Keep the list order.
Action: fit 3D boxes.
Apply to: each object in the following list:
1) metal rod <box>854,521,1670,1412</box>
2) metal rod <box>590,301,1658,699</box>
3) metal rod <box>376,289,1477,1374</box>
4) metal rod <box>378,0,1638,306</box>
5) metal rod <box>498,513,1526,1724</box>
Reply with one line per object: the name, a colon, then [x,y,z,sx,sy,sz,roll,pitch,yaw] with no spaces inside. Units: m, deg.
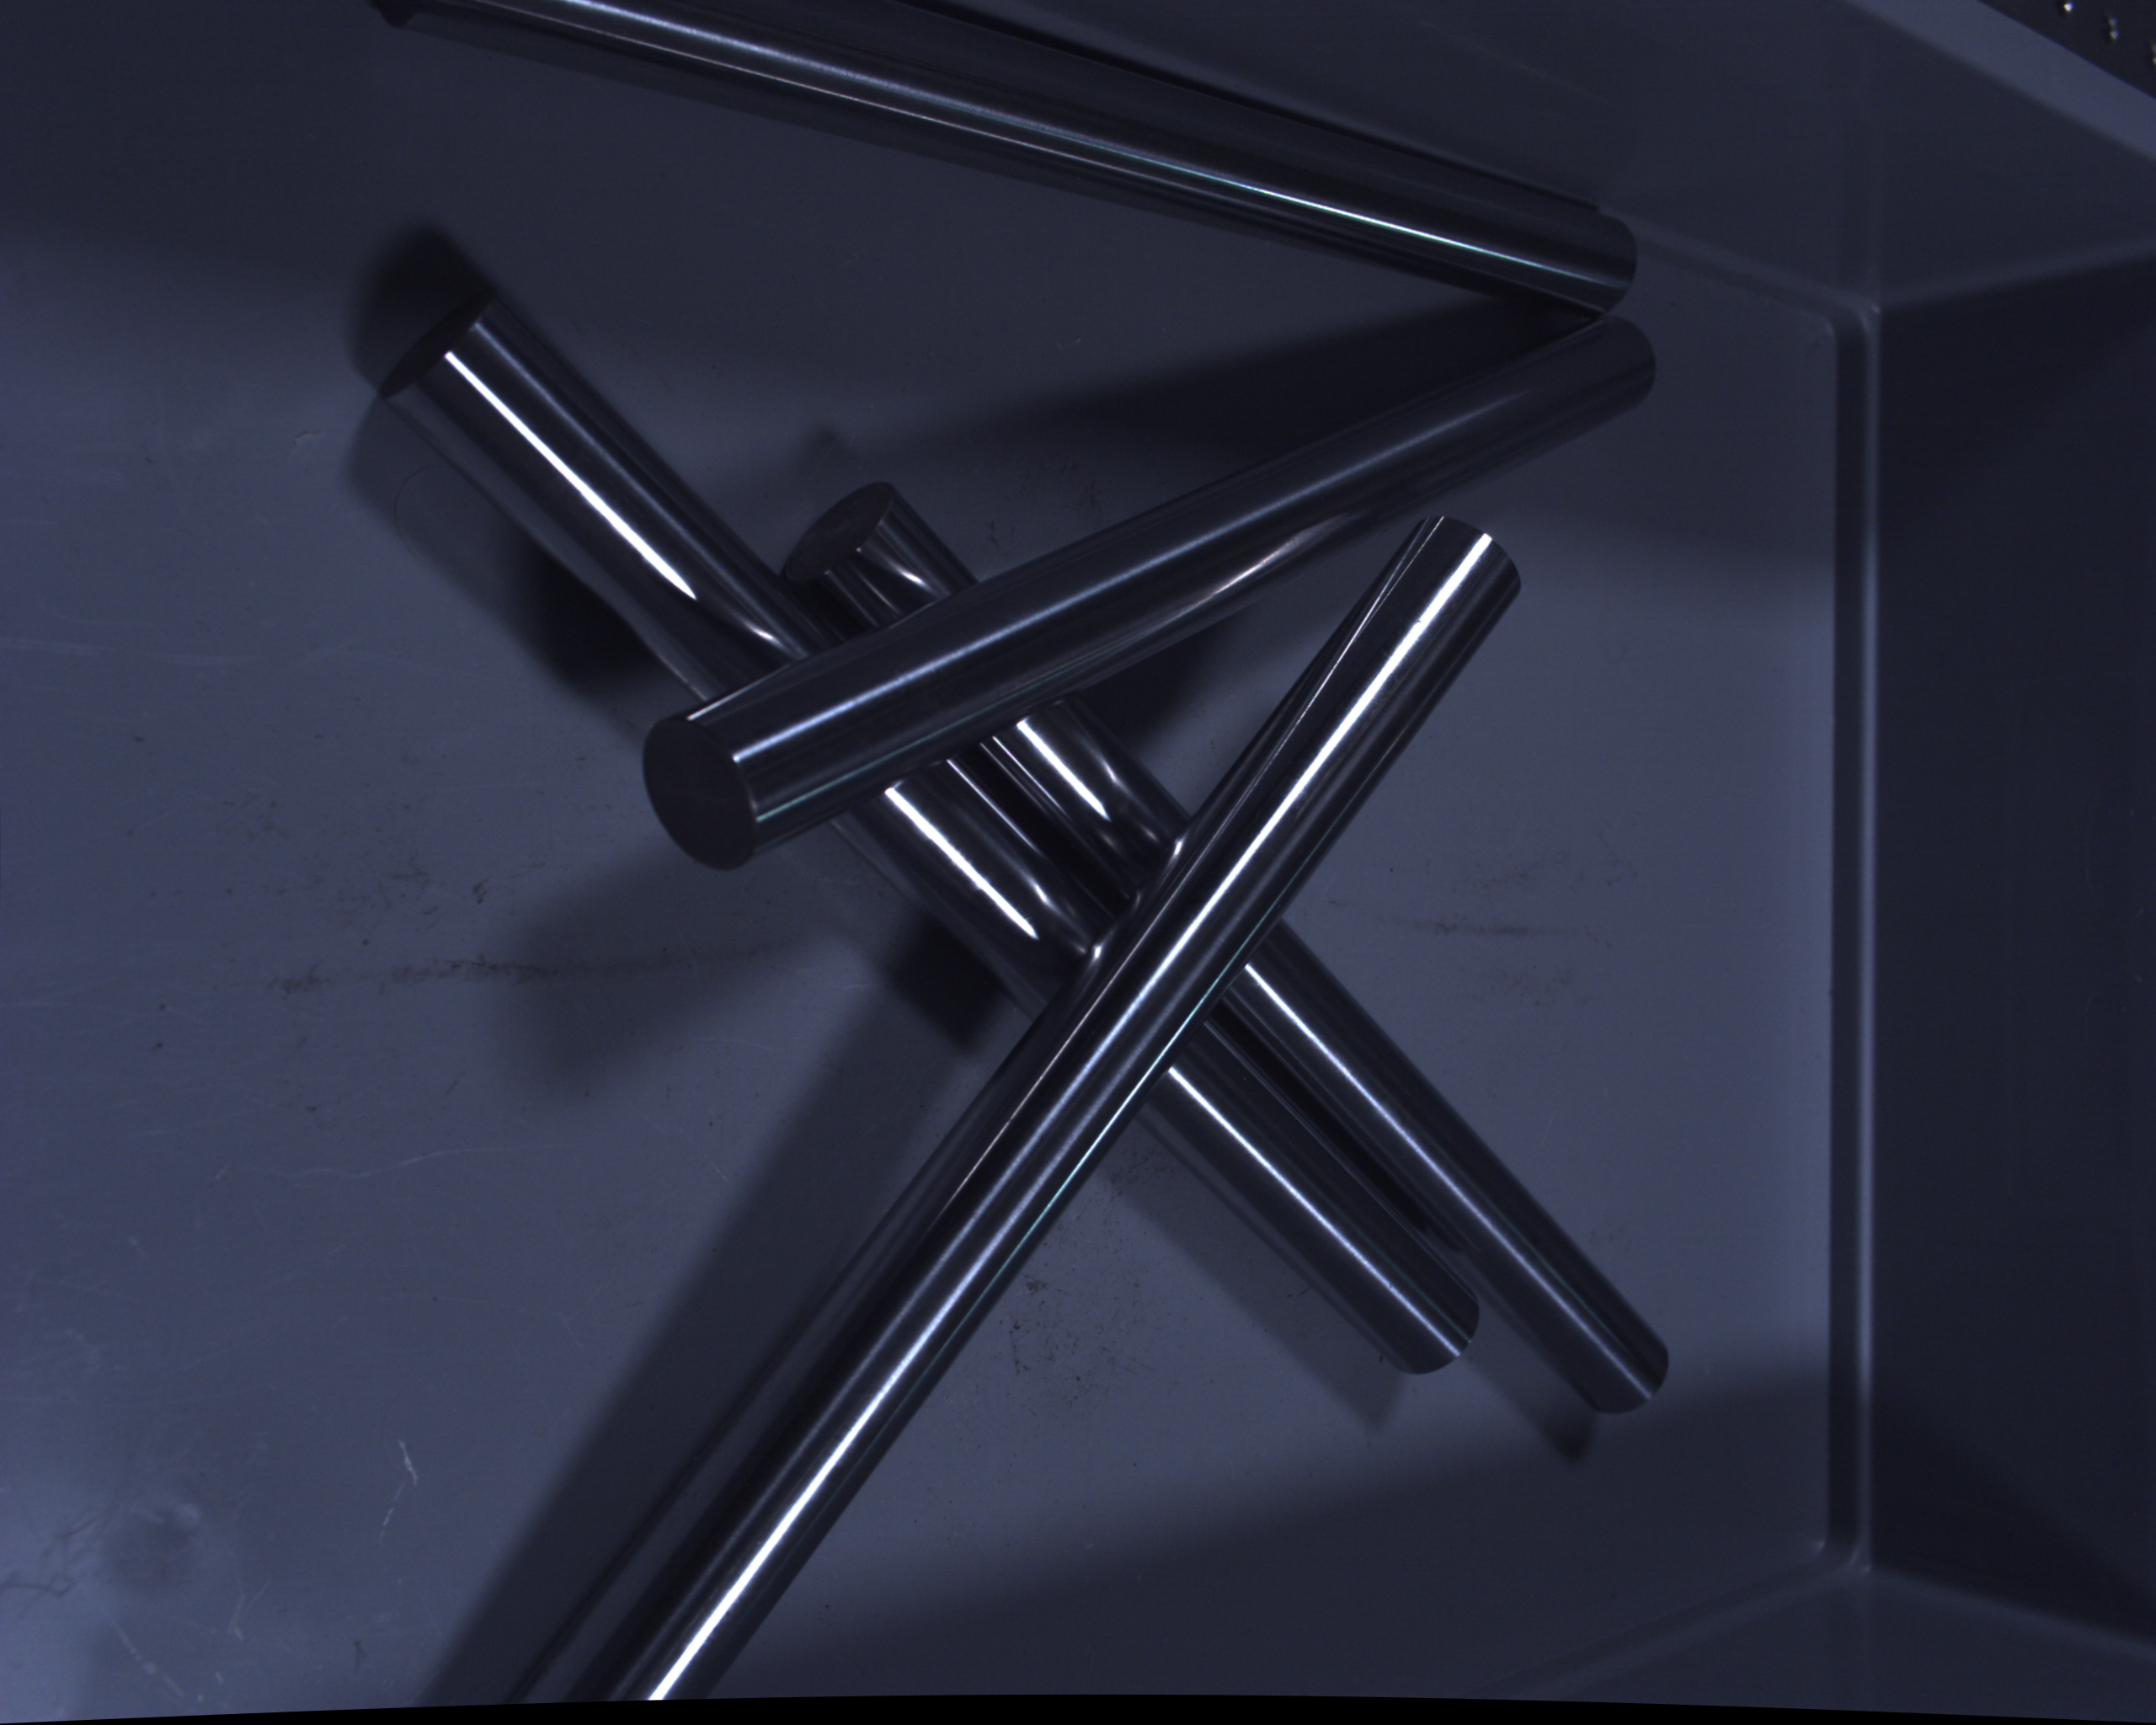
metal rod: [0.047,0.034,0.448,0.300,0.025,0.025,46,62,-31]
metal rod: [0.034,-0.082,0.416,0.302,0.025,0.025,-25,106,-44]
metal rod: [-0.010,0.013,0.399,0.300,0.025,0.025,46,62,-31]
metal rod: [0.012,-0.144,0.417,0.302,0.025,0.025,-1,91,-40]
metal rod: [-0.009,0.051,0.374,0.300,0.025,0.025,-52,121,-18]
